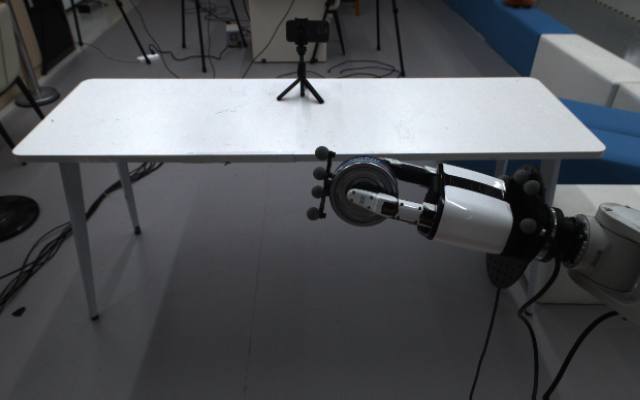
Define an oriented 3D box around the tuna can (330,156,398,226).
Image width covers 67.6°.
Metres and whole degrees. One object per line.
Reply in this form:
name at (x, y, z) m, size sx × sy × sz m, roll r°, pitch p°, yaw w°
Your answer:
tuna can at (0.058, -0.008, 0.601) m, size 0.085 × 0.085 × 0.034 m, roll 4°, pitch 17°, yaw 3°
